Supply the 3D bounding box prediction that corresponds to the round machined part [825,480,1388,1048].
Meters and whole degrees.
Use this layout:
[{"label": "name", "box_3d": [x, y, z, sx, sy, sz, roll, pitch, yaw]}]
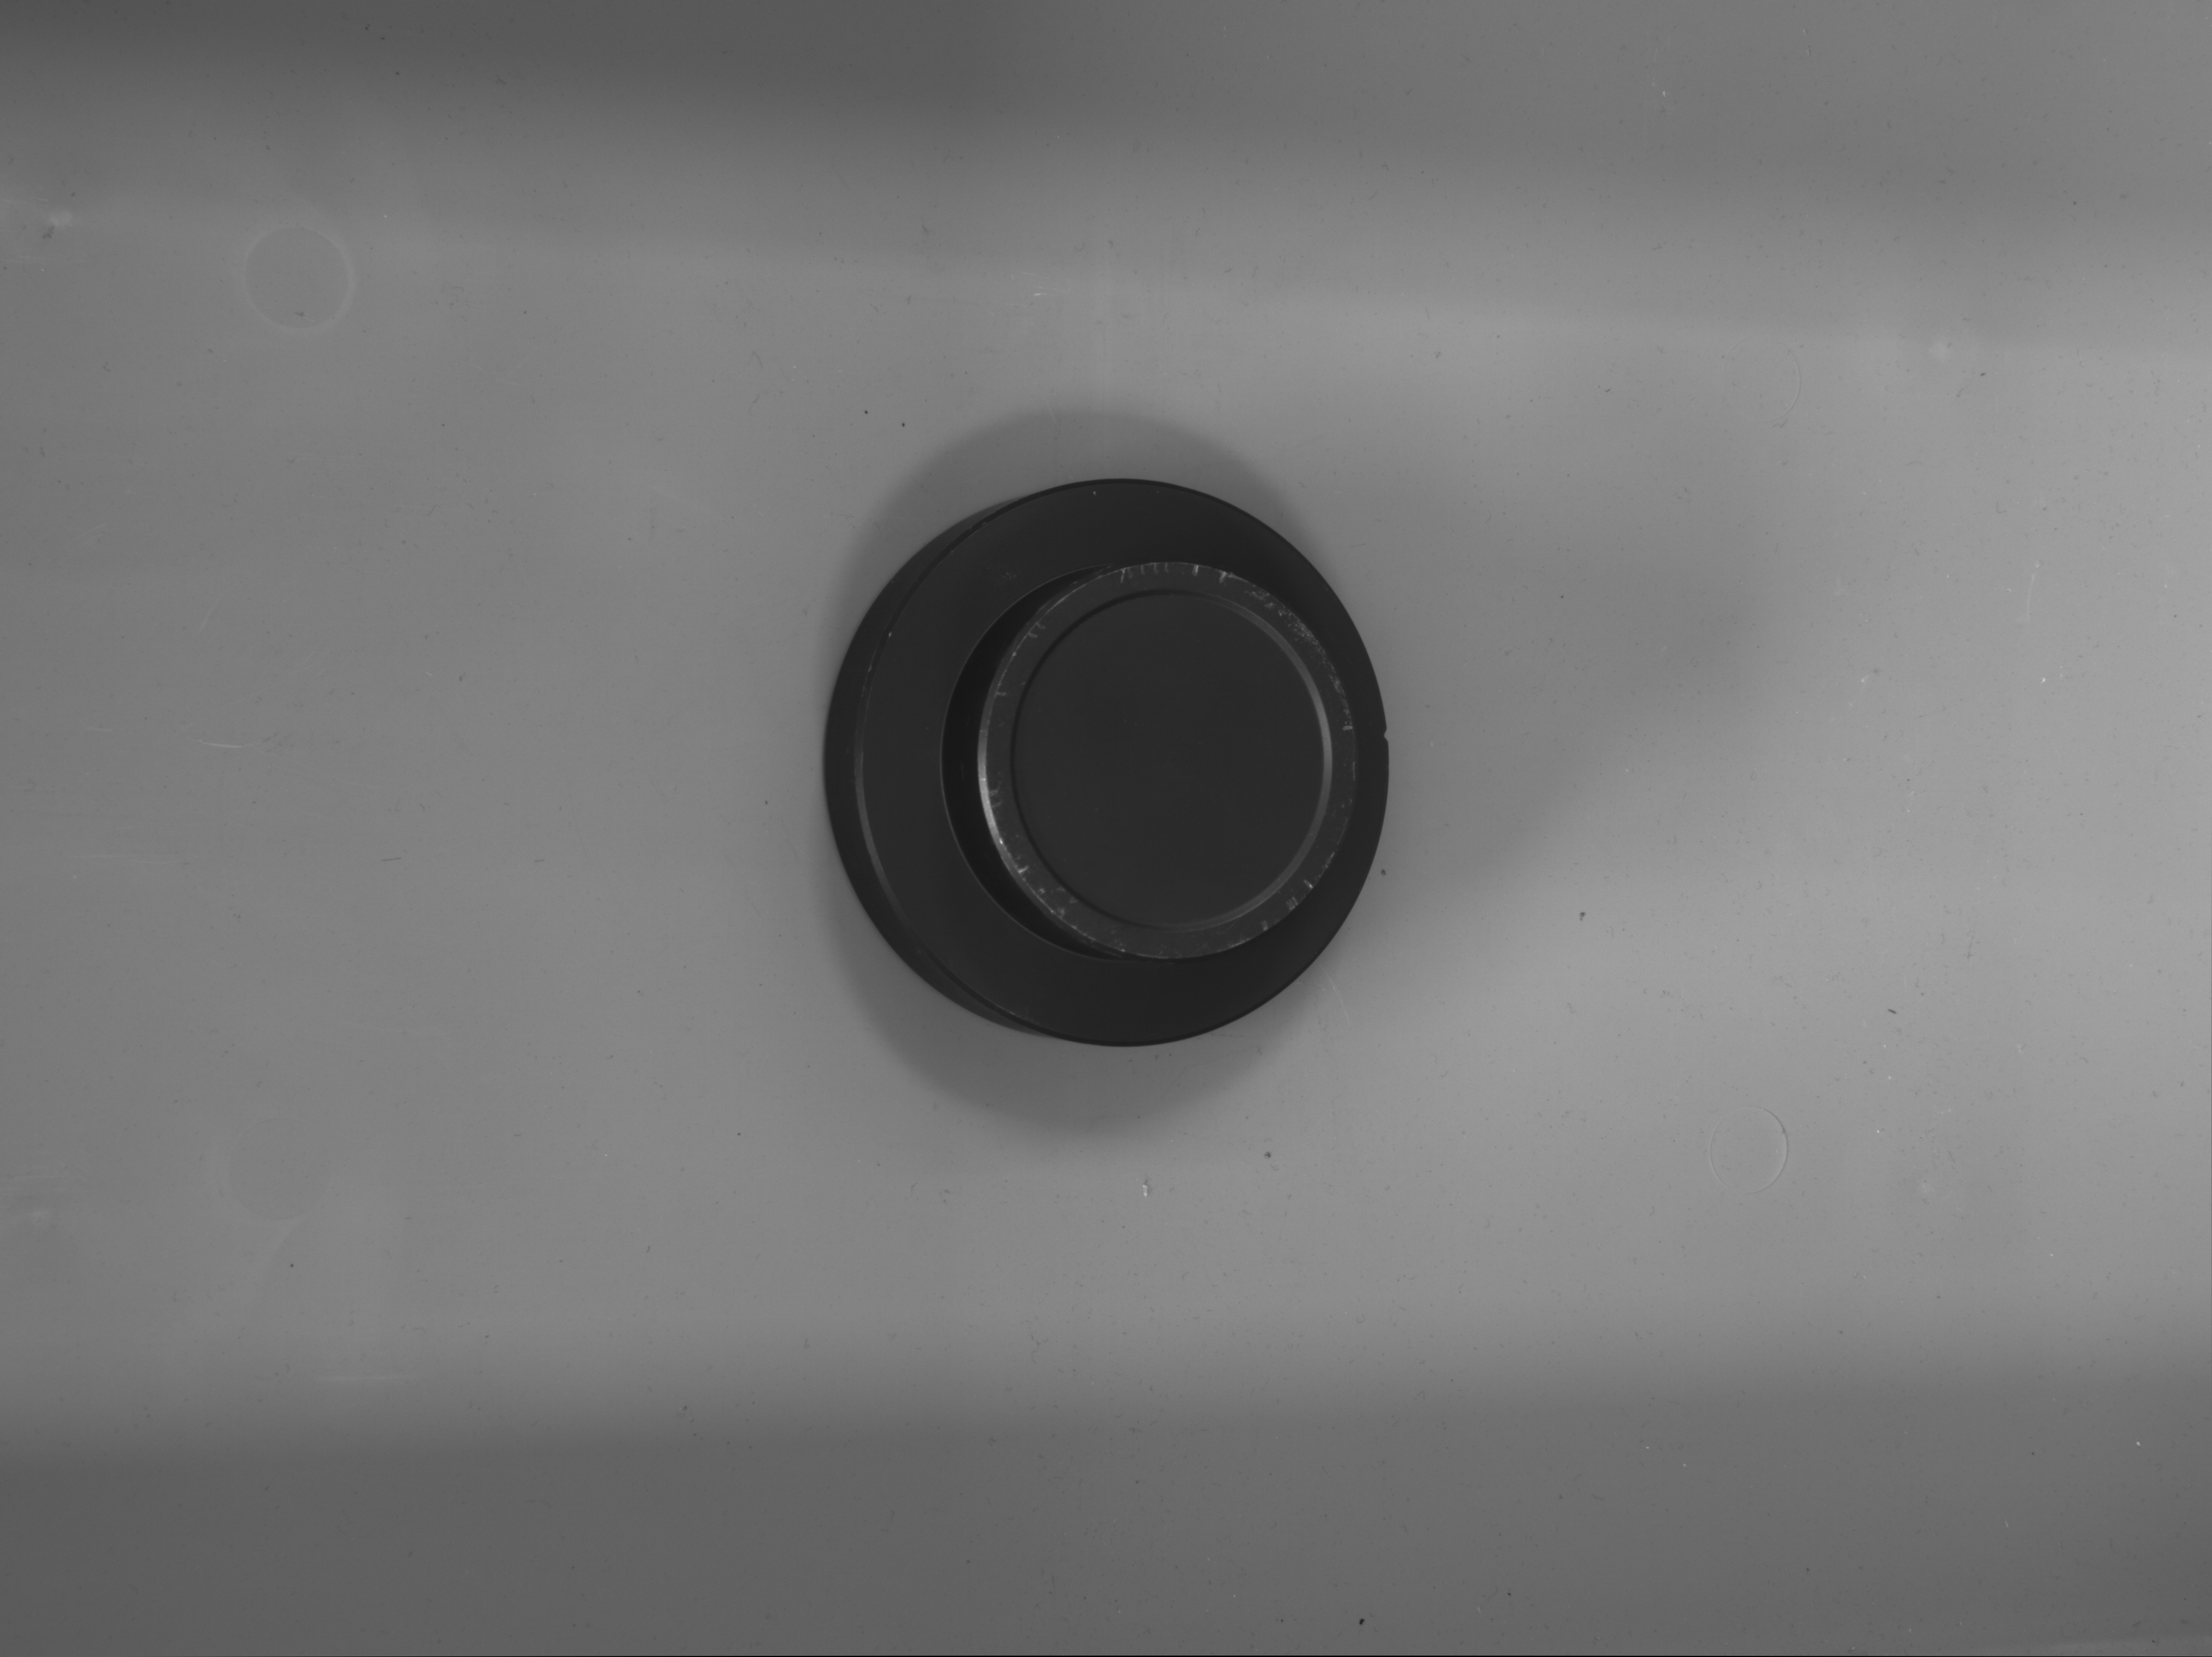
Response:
[{"label": "round machined part", "box_3d": [0.004, -0.011, 0.633, 0.098, 0.042, 0.098, 0, 90, -20]}]
